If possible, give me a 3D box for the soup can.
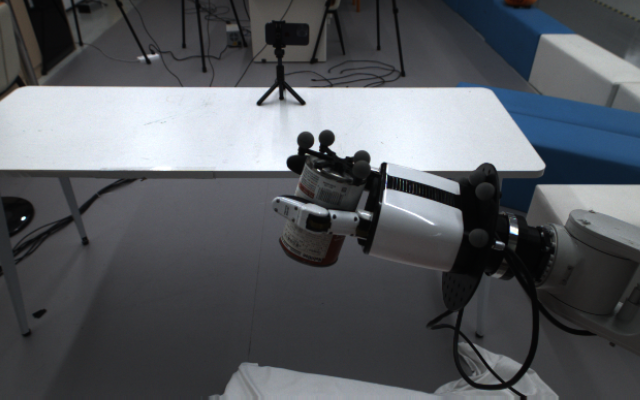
[{"bbox_3d":[0.004,0.010,0.513,0.067,0.101,0.067,17,21,-7],"label":"soup can"}]
